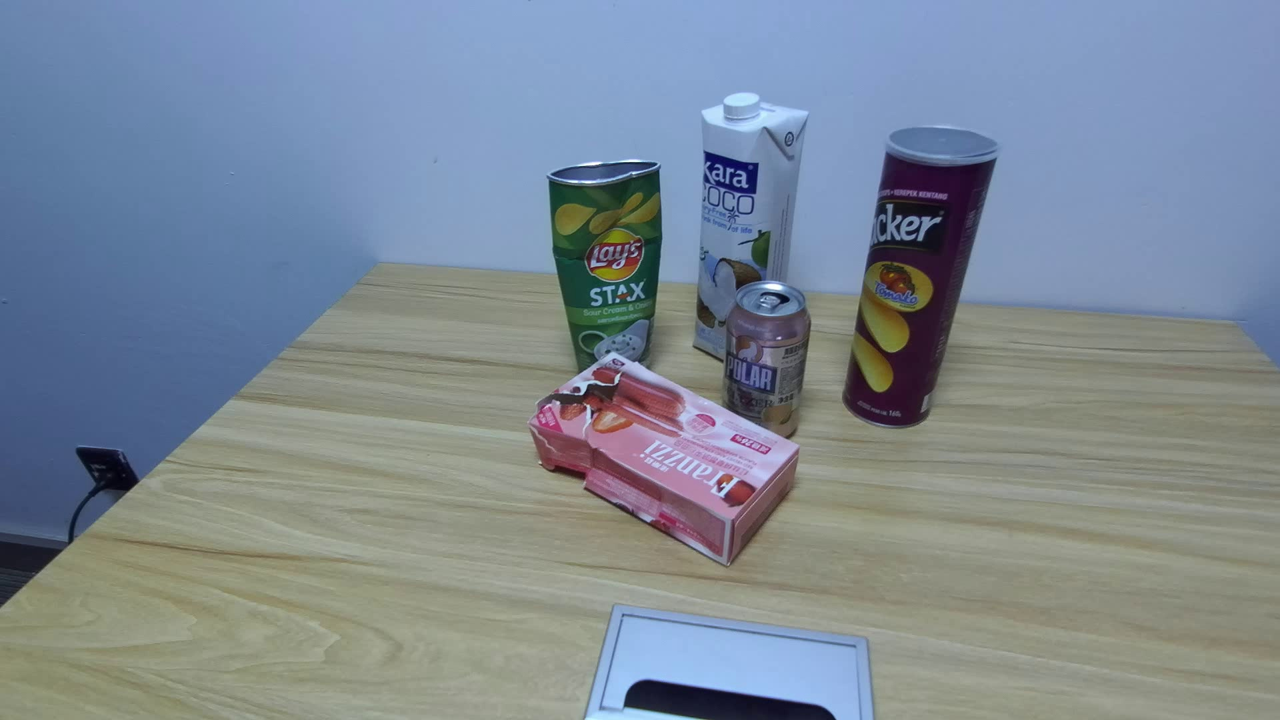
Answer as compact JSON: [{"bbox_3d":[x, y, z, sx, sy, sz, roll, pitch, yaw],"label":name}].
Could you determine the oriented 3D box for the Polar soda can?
[{"bbox_3d":[0.104,0.002,0.579,0.067,0.126,0.067,-2,34,2],"label":"Polar soda can"}]

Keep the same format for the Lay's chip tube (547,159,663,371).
[{"bbox_3d":[-0.025,-0.070,0.619,0.068,0.200,0.075,22,42,30],"label":"Lay's chip tube"}]

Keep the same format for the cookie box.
[{"bbox_3d":[0.018,0.067,0.545,0.185,0.059,0.105,23,44,29],"label":"cookie box"}]

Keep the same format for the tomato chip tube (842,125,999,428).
[{"bbox_3d":[0.220,-0.059,0.569,0.078,0.234,0.078,-1,34,1],"label":"tomato chip tube"}]

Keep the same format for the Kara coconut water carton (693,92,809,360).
[{"bbox_3d":[0.096,-0.115,0.641,0.075,0.245,0.076,-26,41,-34],"label":"Kara coconut water carton"}]
